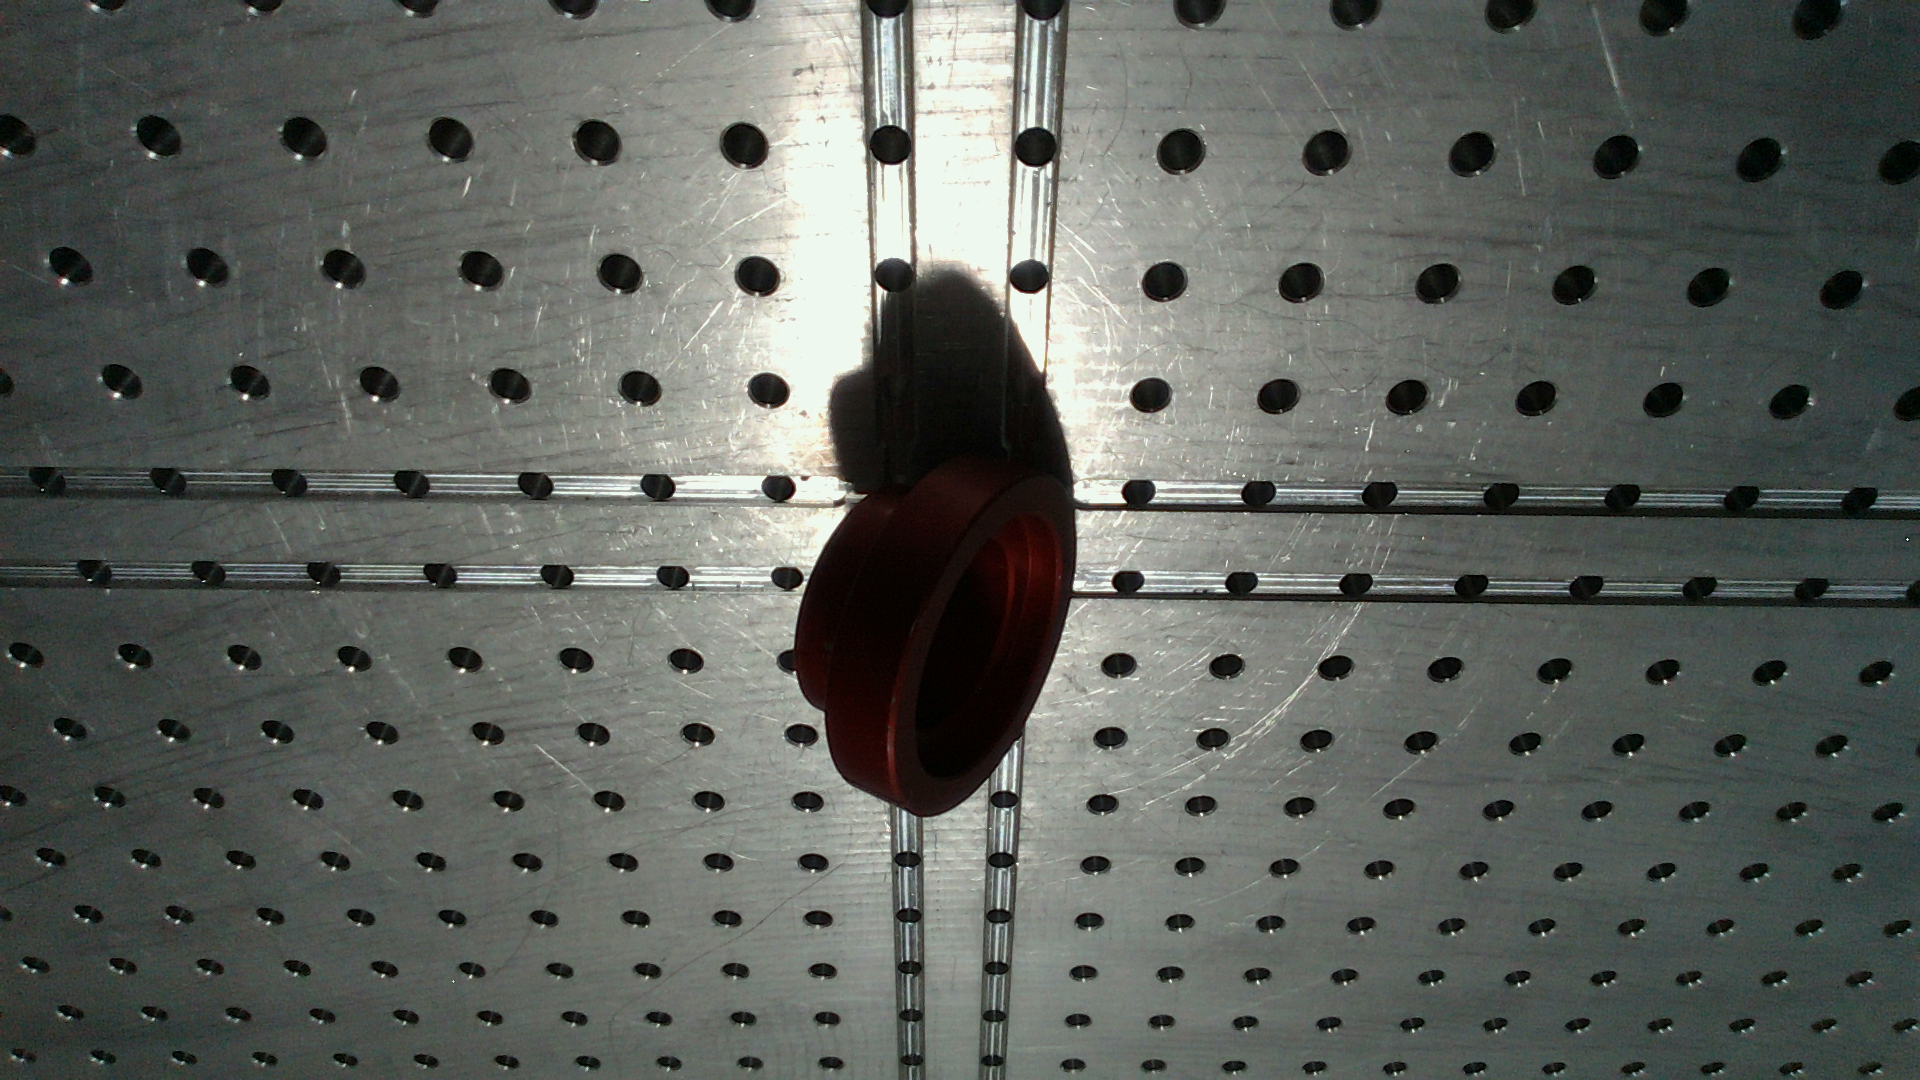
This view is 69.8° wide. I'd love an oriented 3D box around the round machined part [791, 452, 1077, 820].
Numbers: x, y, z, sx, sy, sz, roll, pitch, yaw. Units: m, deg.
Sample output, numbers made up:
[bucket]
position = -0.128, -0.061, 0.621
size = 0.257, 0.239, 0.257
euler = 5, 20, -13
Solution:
[round machined part]
position = -0.009, 0.023, 0.376
size = 0.042, 0.098, 0.098
euler = 20, 135, 25
